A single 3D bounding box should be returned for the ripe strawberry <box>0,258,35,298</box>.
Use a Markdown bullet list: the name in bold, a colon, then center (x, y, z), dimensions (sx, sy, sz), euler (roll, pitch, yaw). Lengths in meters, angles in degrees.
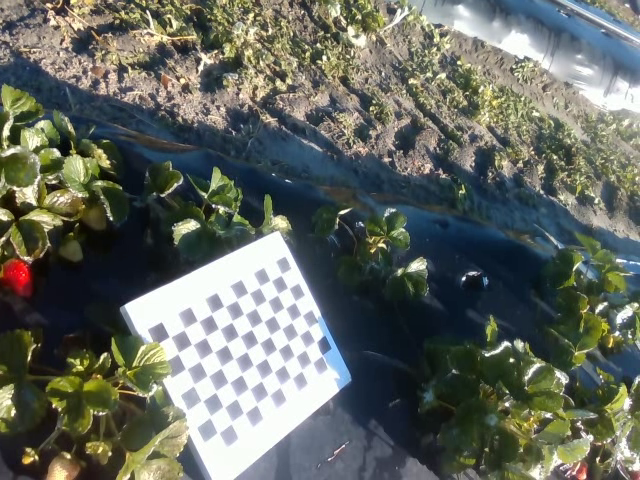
- **ripe strawberry**: center (-0.423, 0.051, 0.822), dimensions (0.043, 0.059, 0.040), euler (-28, -3, -41)
